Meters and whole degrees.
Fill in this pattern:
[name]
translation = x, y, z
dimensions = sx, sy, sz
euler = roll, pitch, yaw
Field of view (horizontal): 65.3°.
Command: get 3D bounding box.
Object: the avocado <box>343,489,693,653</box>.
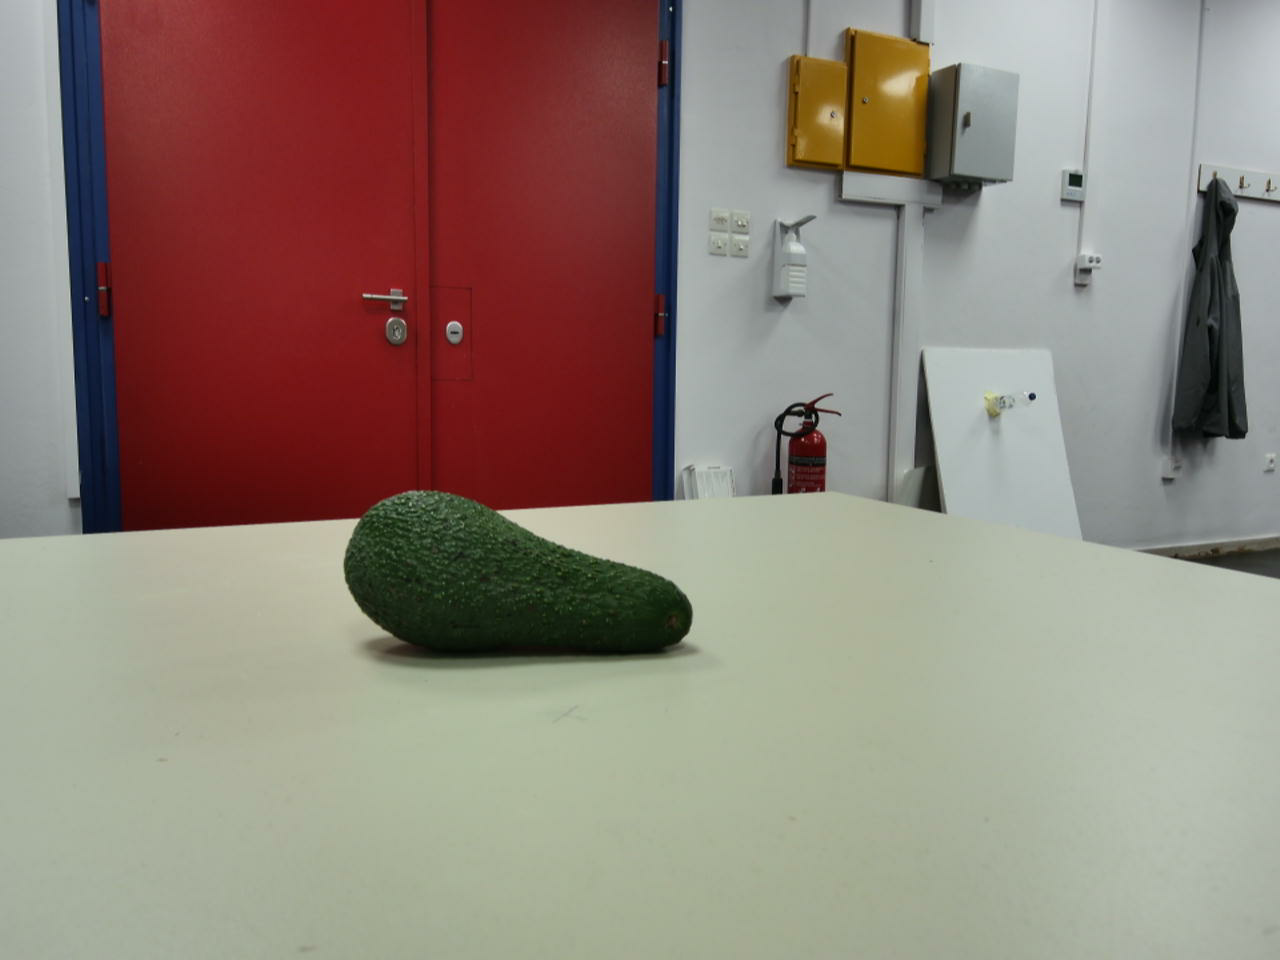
[avocado]
translation = -0.051, 0.037, 0.417
dimensions = 0.141, 0.067, 0.063
euler = -1, 4, -11
